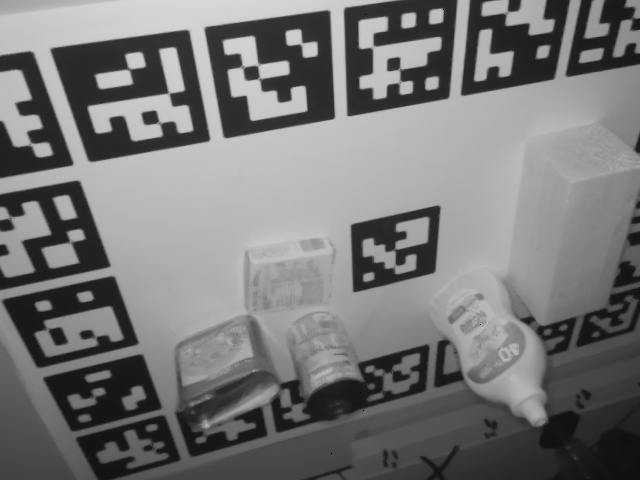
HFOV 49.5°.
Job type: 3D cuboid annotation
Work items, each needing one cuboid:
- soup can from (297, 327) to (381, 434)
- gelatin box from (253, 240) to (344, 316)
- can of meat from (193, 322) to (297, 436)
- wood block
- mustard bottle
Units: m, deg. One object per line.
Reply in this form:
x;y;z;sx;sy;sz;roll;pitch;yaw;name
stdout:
0.018;0.151;0.749;0.068;0.102;0.067;-9;125;-12;soup can
-0.022;0.040;0.707;0.090;0.030;0.072;-6;124;-18;gelatin box
-0.083;0.144;0.732;0.102;0.084;0.057;-22;128;1;can of meat
0.287;-0.010;0.746;0.091;0.090;0.204;-11;131;-9;wood block
0.213;0.121;0.755;0.096;0.192;0.058;-32;129;8;mustard bottle
